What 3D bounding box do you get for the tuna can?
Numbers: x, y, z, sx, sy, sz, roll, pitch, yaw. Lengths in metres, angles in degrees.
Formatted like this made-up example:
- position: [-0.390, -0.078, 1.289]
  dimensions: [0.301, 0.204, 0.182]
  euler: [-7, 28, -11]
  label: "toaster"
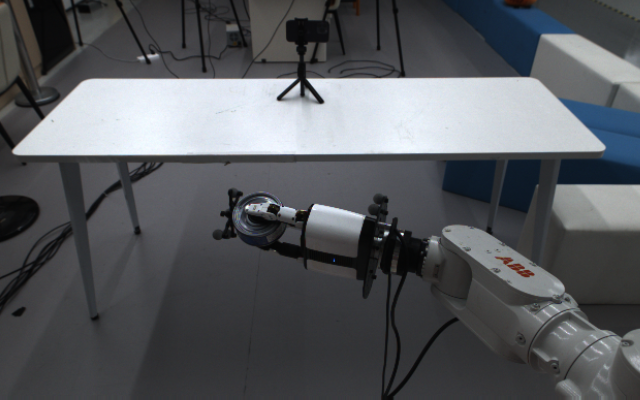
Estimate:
- position: [-0.095, 0.030, 0.780]
  dimensions: [0.085, 0.034, 0.085]
  euler: [-2, 58, 3]
  label: "tuna can"
